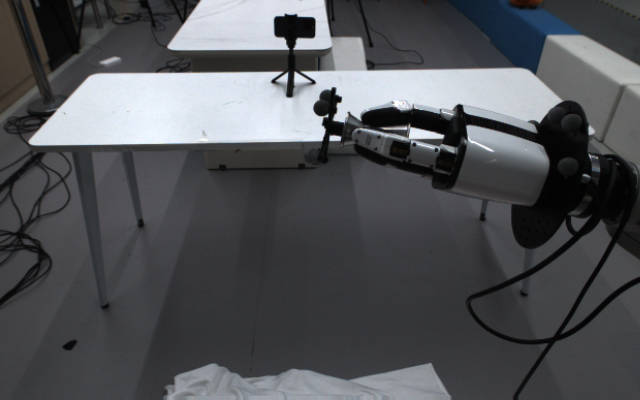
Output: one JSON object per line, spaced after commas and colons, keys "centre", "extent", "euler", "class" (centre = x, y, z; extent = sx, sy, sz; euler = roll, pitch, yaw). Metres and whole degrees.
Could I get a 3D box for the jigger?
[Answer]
{"centre": [0.063, -0.073, 0.523], "extent": [0.071, 0.043, 0.043], "euler": [12, 36, 5], "class": "jigger"}
